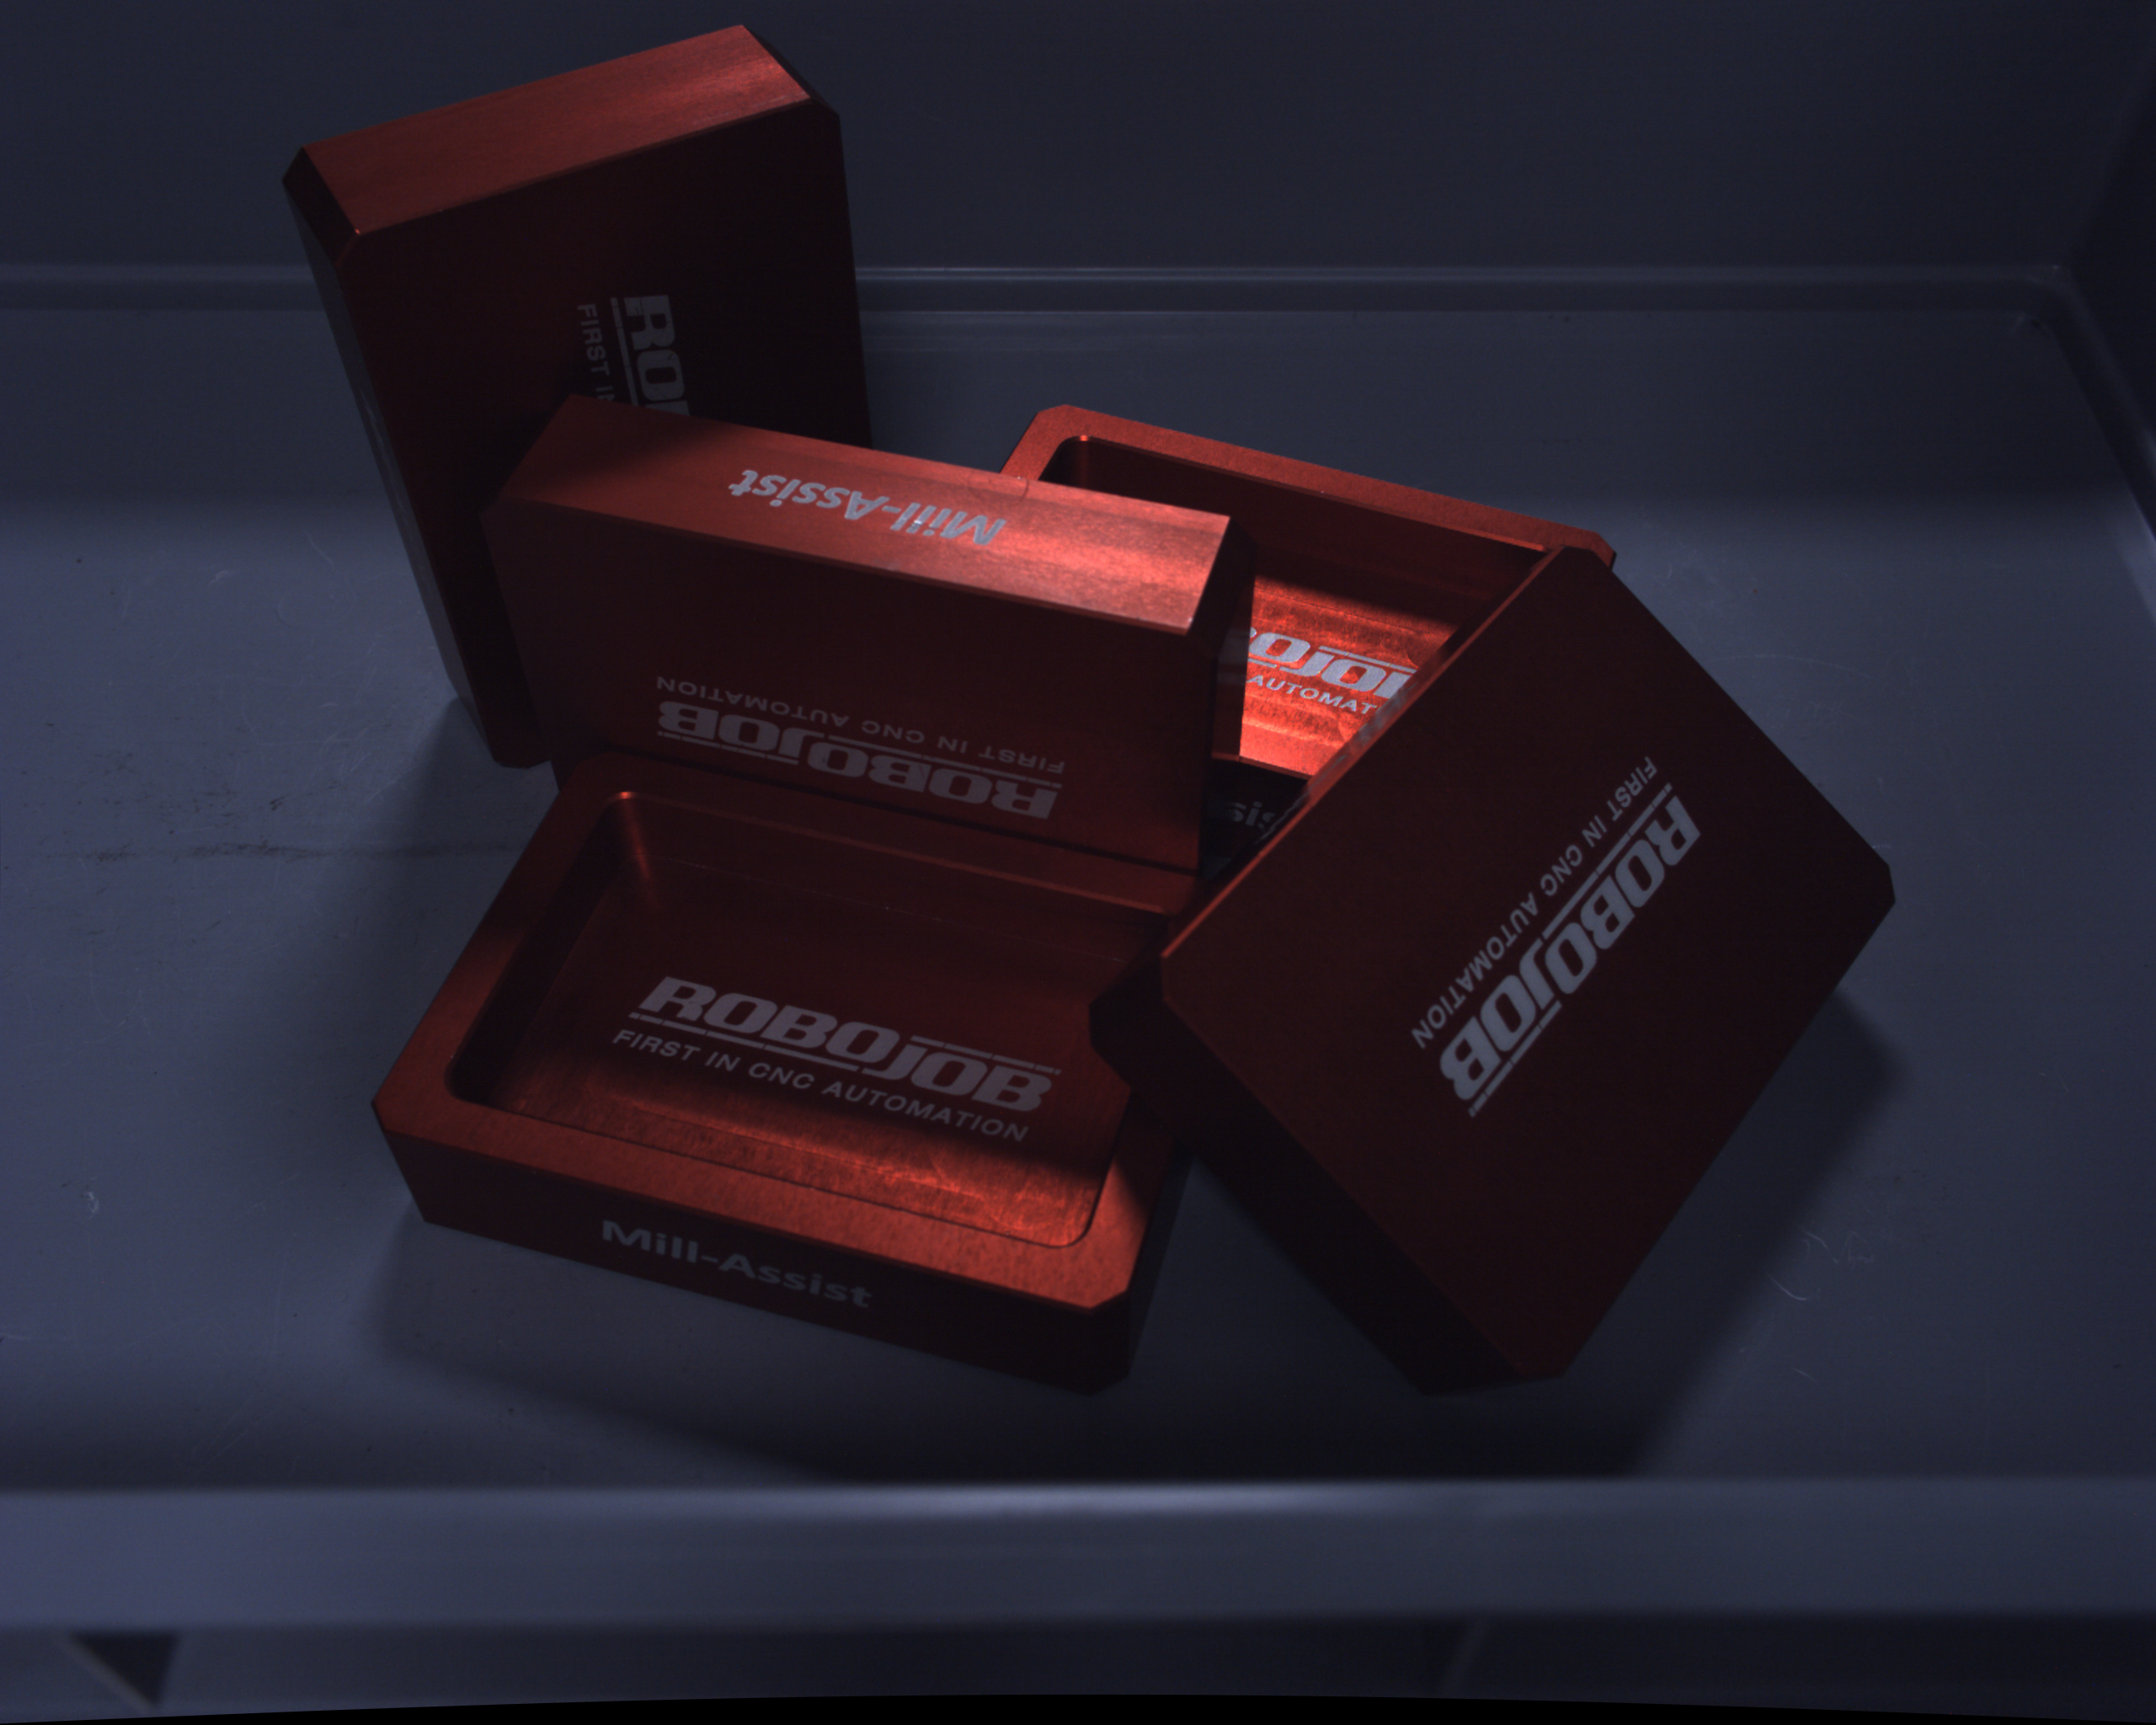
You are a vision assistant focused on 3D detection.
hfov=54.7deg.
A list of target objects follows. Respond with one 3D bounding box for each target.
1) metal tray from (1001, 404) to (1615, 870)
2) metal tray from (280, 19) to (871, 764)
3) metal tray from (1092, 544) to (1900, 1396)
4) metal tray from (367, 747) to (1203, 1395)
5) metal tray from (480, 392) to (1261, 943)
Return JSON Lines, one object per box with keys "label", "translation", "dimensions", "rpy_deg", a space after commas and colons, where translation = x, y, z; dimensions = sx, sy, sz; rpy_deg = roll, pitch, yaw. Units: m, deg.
{"label": "metal tray", "translation": [0.037, -0.045, 0.438], "dimensions": [0.130, 0.030, 0.090], "rpy_deg": [16, 52, 13]}
{"label": "metal tray", "translation": [-0.088, -0.086, 0.405], "dimensions": [0.091, 0.129, 0.030], "rpy_deg": [-24, 55, -19]}
{"label": "metal tray", "translation": [0.076, 0.015, 0.362], "dimensions": [0.090, 0.030, 0.131], "rpy_deg": [47, 60, -1]}
{"label": "metal tray", "translation": [-0.044, 0.033, 0.370], "dimensions": [0.131, 0.030, 0.090], "rpy_deg": [12, 51, 10]}
{"label": "metal tray", "translation": [-0.036, -0.032, 0.386], "dimensions": [0.131, 0.089, 0.030], "rpy_deg": [12, 51, 9]}
